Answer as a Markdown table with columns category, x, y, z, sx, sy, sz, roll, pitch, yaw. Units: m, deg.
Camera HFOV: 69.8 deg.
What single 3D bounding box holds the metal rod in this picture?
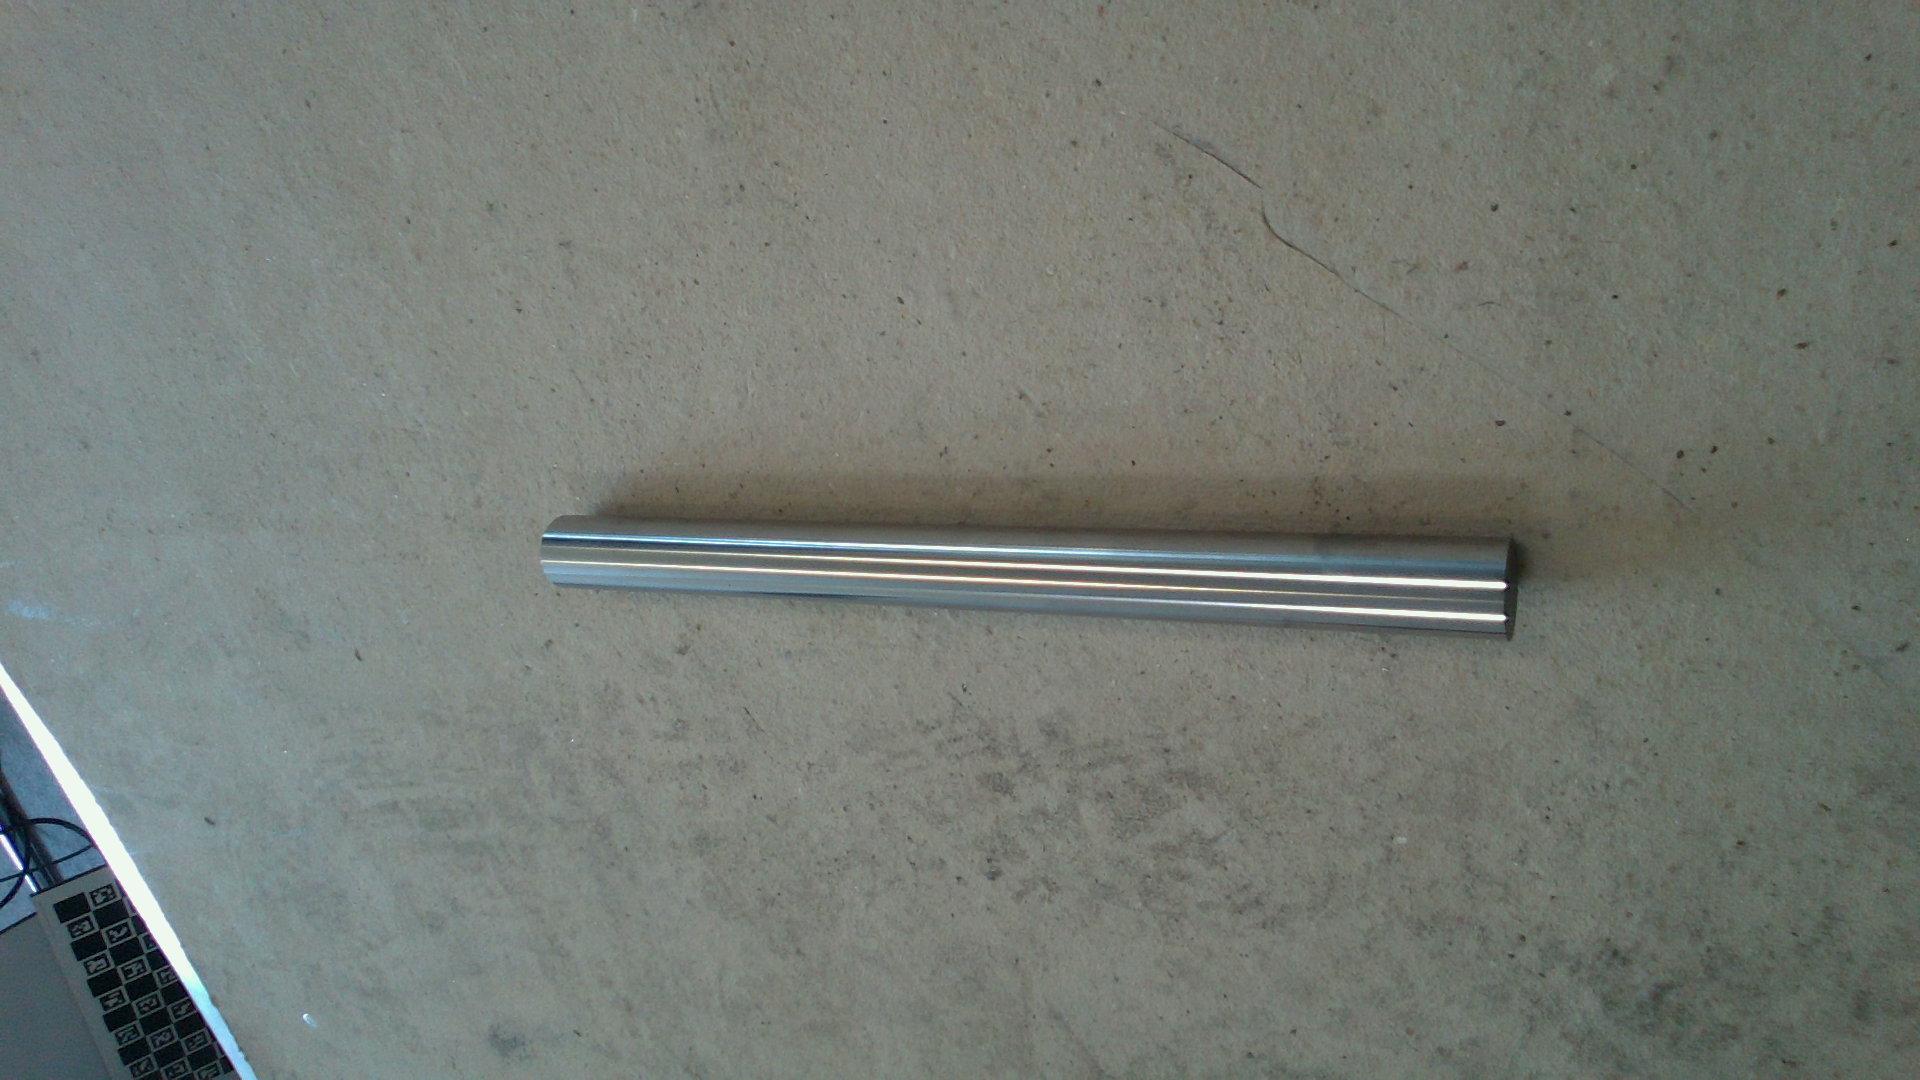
| category | x | y | z | sx | sy | sz | roll | pitch | yaw |
| --- | --- | --- | --- | --- | --- | --- | --- | --- | --- |
| metal rod | -0.002 | 0.008 | 0.399 | 0.299 | 0.025 | 0.025 | 2 | 119 | 27 |
